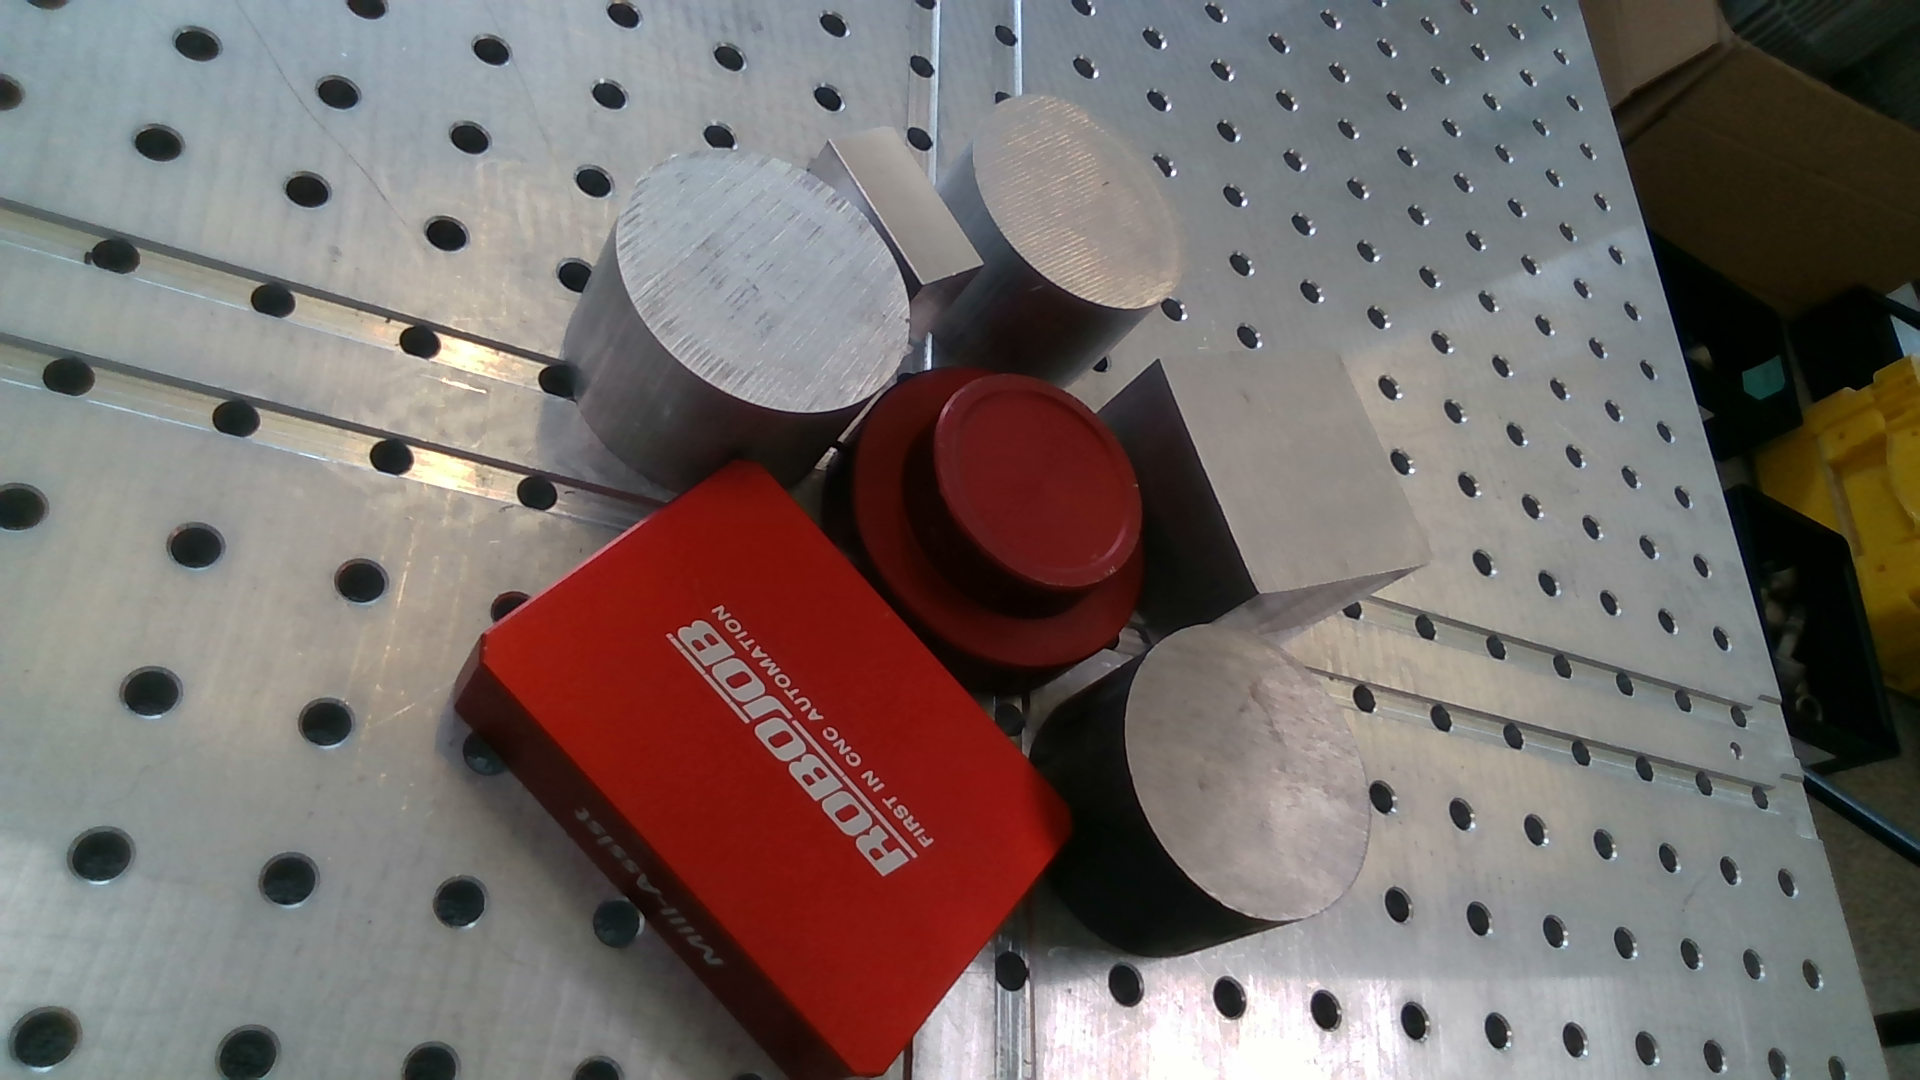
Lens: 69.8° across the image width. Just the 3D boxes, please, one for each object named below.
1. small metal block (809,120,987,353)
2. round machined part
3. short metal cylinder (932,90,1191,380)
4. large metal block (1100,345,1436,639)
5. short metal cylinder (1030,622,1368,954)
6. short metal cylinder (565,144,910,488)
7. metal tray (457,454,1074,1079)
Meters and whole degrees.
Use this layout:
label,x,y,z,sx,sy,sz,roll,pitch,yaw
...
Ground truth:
label,x,y,z,sx,sy,sz,roll,pitch,yaw
small metal block,-0.026,-0.086,0.409,0.025,0.050,0.050,-27,81,-39
round machined part,0.013,-0.010,0.398,0.098,0.042,0.098,14,59,-25
short metal cylinder,0.028,-0.097,0.448,0.080,0.050,0.080,14,59,-25
large metal block,0.094,-0.014,0.446,0.080,0.050,0.080,-8,70,-34
short metal cylinder,0.065,0.069,0.382,0.080,0.050,0.080,14,59,-25
short metal cylinder,-0.061,-0.058,0.373,0.080,0.050,0.080,14,59,-25
metal tray,-0.044,0.053,0.336,0.130,0.030,0.090,48,50,-1
